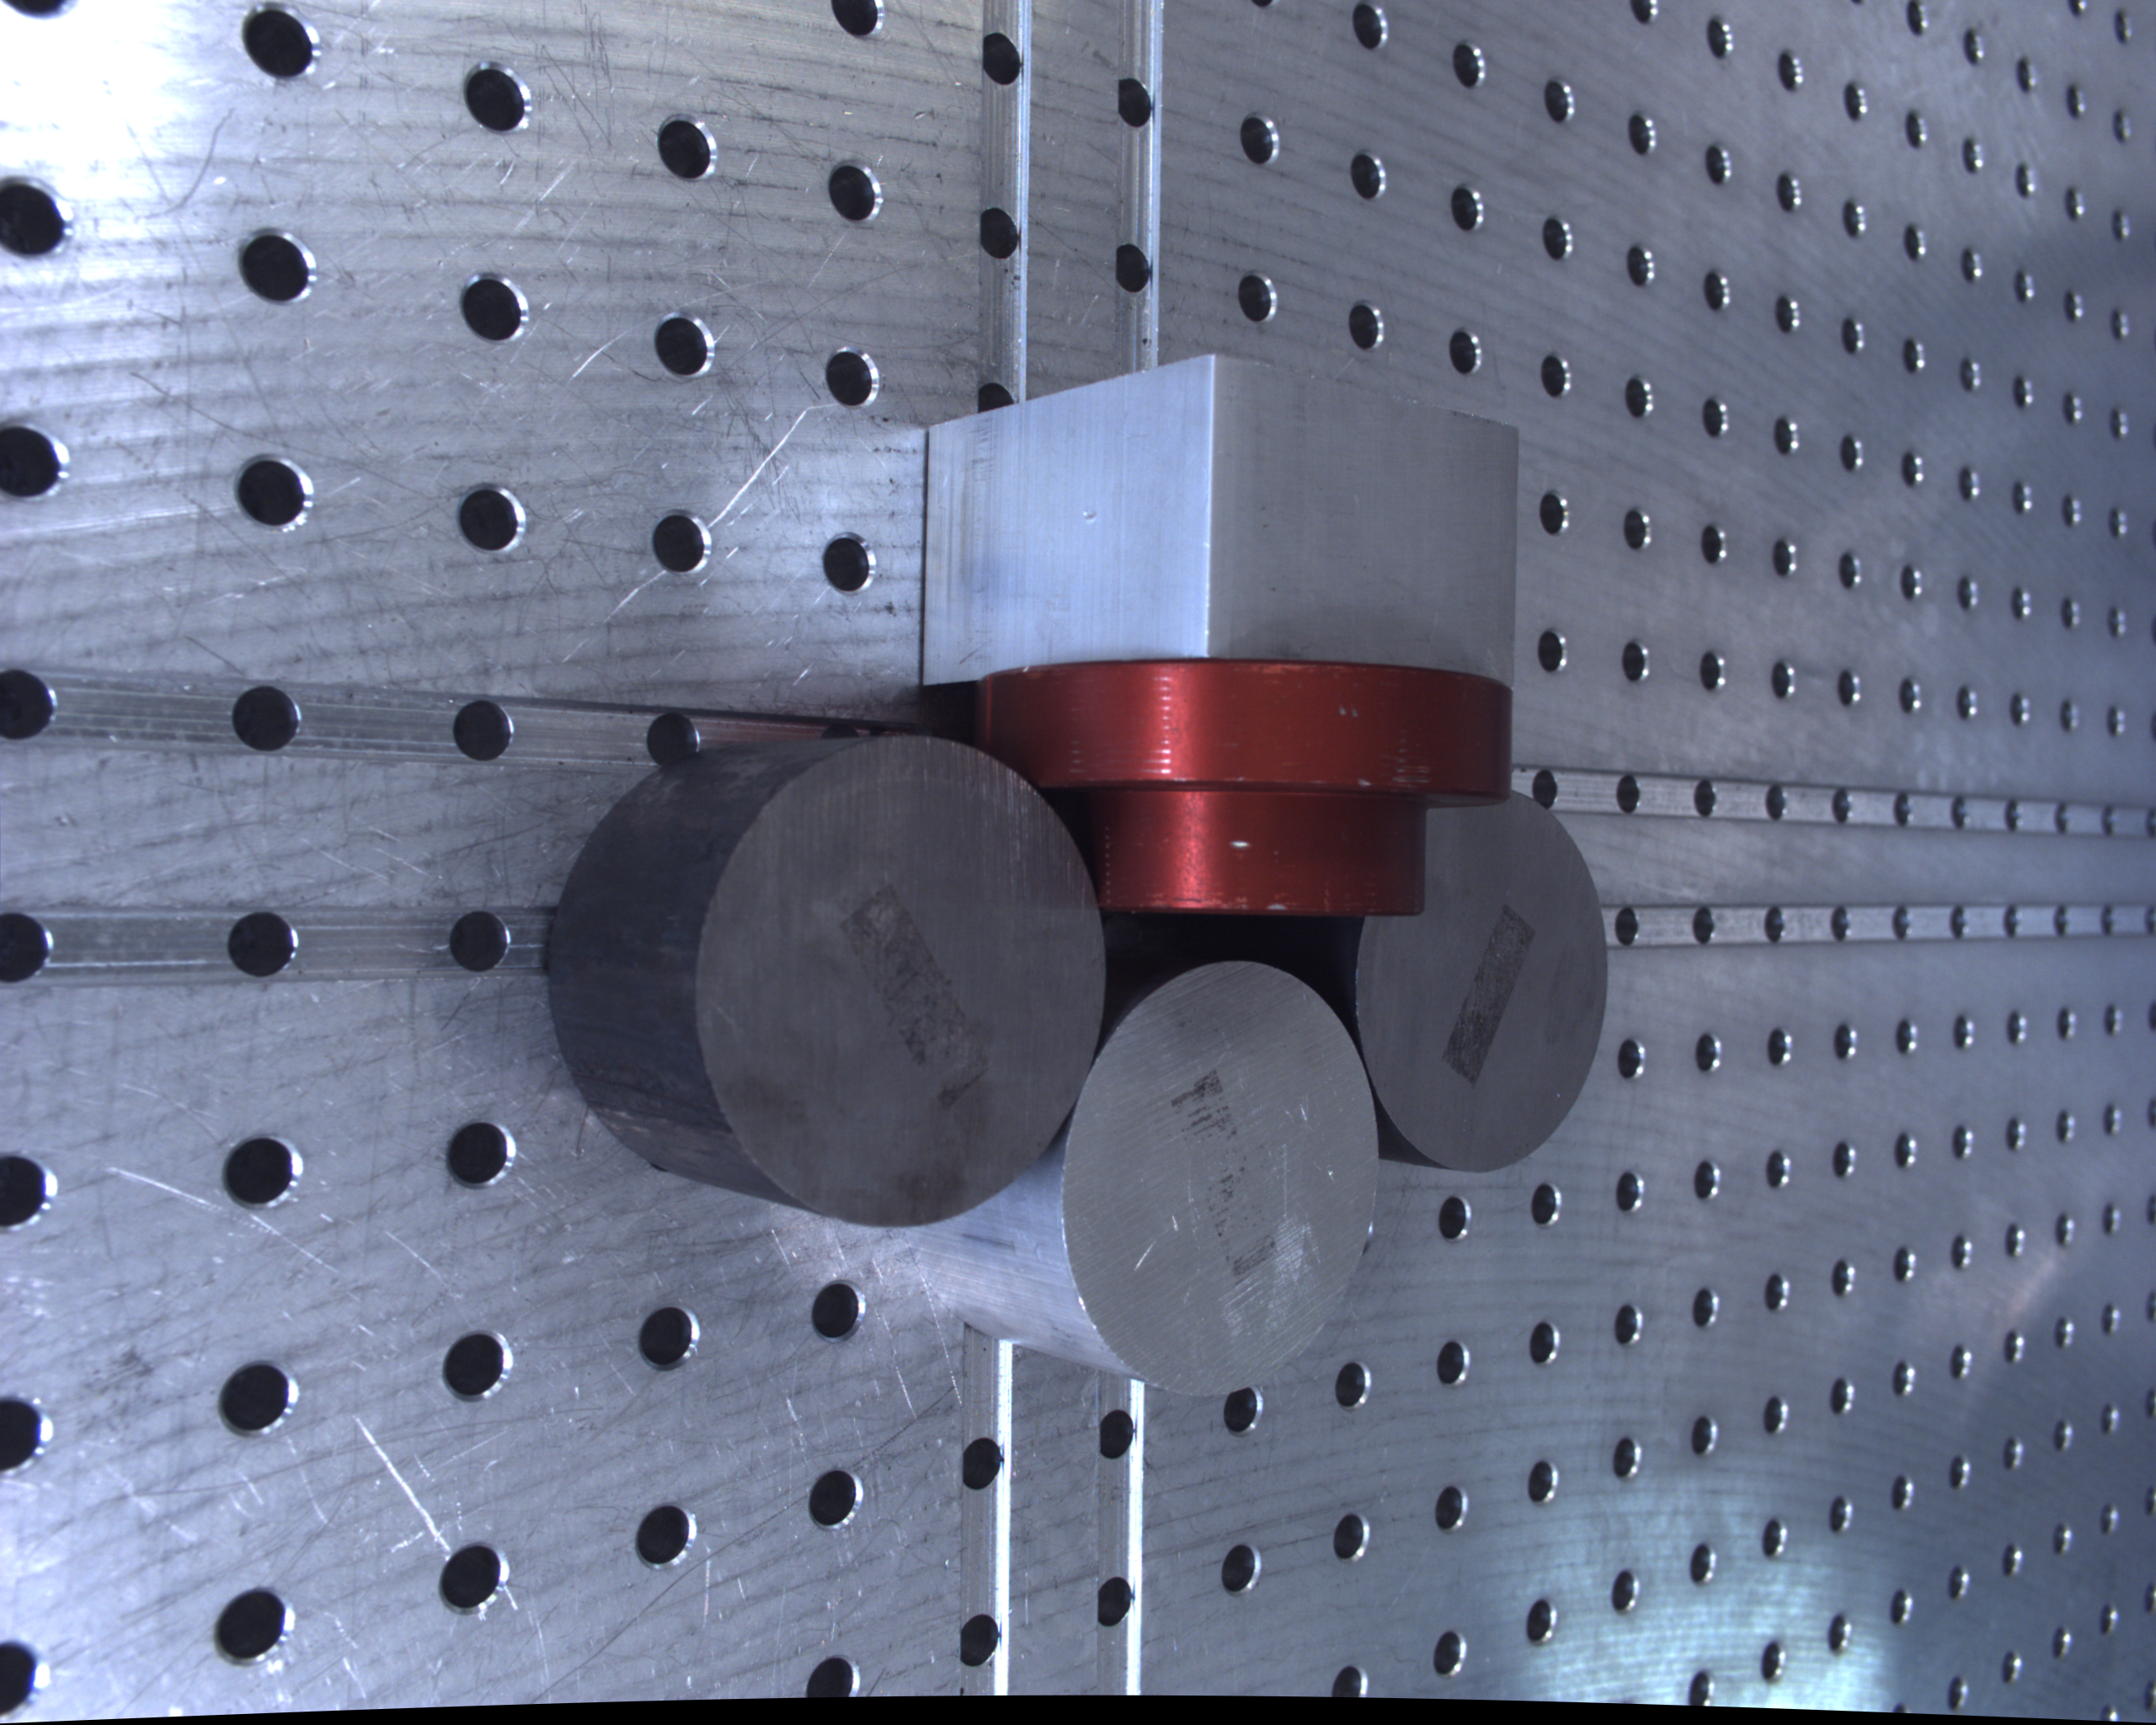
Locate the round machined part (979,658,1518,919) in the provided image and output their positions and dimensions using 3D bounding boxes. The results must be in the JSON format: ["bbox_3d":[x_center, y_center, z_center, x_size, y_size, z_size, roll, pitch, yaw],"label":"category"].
[{"bbox_3d":[0.031,-0.011,0.385,0.099,0.098,0.042,2,88,-40],"label":"round machined part"}]

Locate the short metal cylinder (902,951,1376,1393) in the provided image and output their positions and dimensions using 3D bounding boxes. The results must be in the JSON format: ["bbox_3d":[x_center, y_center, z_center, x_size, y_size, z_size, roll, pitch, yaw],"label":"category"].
[{"bbox_3d":[0.012,0.057,0.403,0.081,0.050,0.079,0,90,-40],"label":"short metal cylinder"}]

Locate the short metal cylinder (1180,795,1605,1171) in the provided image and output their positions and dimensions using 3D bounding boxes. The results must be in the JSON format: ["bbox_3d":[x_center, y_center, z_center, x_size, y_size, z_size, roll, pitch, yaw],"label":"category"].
[{"bbox_3d":[0.069,0.024,0.451,0.081,0.050,0.079,0,90,-40],"label":"short metal cylinder"}]

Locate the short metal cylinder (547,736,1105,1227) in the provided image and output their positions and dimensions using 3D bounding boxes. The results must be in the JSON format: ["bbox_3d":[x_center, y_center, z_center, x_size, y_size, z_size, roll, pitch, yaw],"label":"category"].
[{"bbox_3d":[-0.042,0.019,0.358,0.081,0.050,0.079,0,90,-40],"label":"short metal cylinder"}]

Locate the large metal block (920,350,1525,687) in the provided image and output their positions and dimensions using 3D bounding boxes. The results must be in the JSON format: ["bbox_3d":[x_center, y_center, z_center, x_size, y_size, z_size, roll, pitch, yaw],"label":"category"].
[{"bbox_3d":[0.027,-0.058,0.395,0.081,0.080,0.050,1,90,-40],"label":"large metal block"}]
